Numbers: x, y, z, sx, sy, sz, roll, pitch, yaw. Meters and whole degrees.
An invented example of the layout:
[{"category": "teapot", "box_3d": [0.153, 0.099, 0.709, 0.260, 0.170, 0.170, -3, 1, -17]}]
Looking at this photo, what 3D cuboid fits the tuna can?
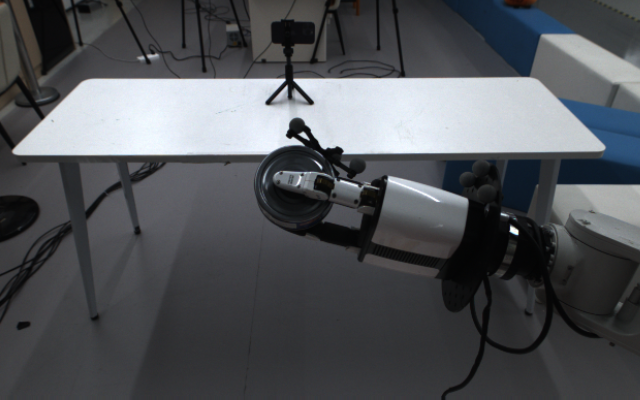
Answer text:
[{"category": "tuna can", "box_3d": [-0.021, -0.007, 0.507, 0.085, 0.034, 0.085, 0, 74, 0]}]
